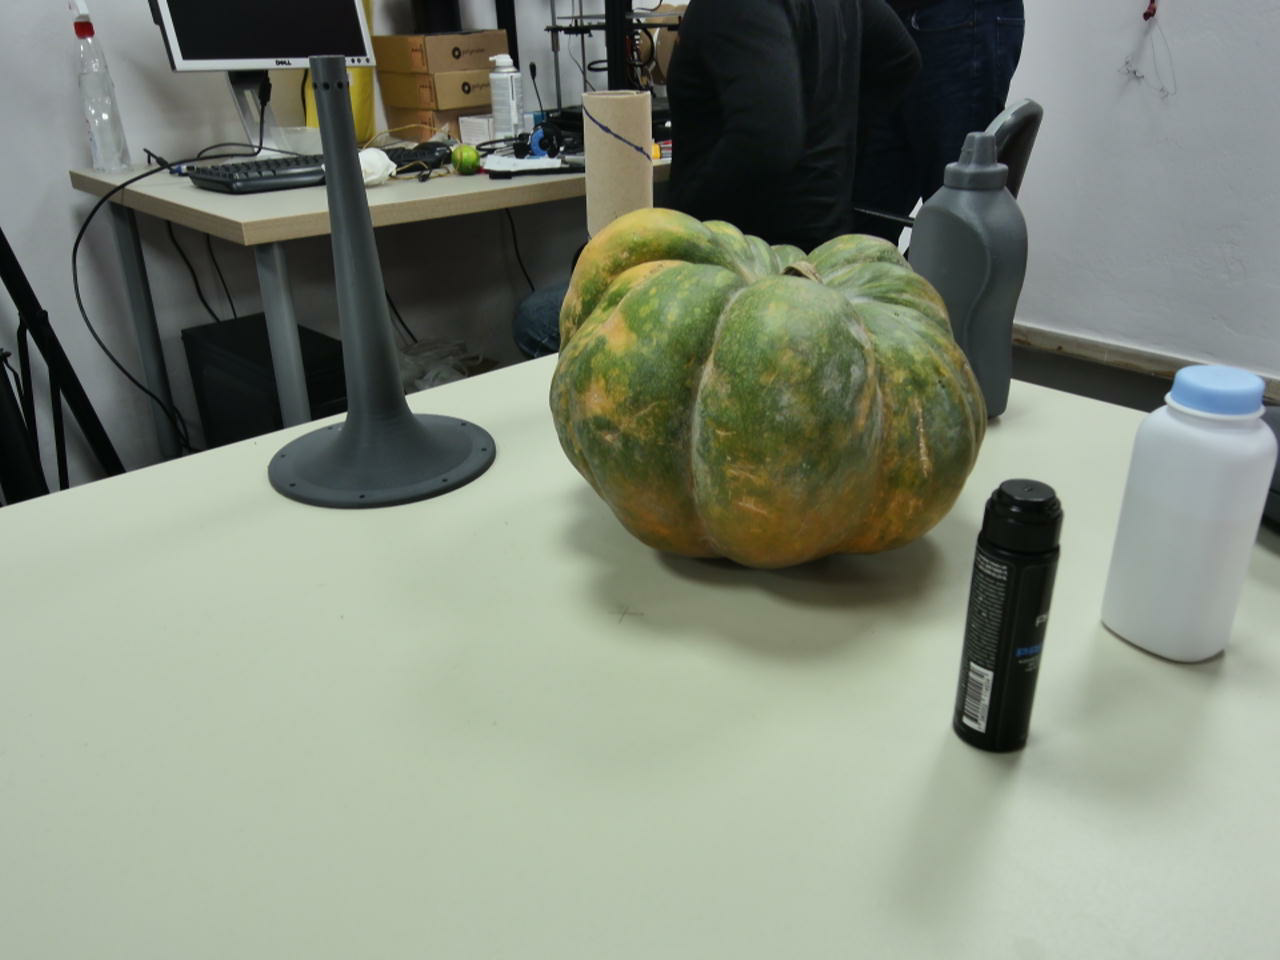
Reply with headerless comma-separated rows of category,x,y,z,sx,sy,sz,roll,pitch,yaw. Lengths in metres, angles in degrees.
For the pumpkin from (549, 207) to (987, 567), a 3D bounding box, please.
pumpkin,0.069,-0.056,0.560,0.237,0.173,0.270,-2,24,-4
